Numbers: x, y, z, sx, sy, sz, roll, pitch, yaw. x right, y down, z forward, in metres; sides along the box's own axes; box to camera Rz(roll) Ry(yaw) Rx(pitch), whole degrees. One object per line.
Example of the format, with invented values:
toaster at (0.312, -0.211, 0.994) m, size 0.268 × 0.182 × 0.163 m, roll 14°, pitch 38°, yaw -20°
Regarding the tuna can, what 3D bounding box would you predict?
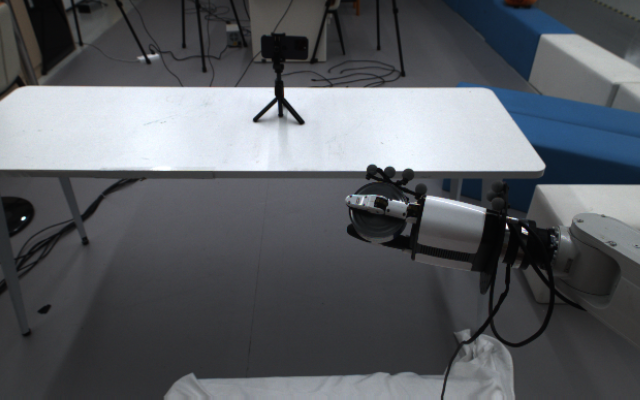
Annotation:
tuna can at (0.088, 0.015, 0.707) m, size 0.085 × 0.034 × 0.085 m, roll -4°, pitch 66°, yaw 10°
